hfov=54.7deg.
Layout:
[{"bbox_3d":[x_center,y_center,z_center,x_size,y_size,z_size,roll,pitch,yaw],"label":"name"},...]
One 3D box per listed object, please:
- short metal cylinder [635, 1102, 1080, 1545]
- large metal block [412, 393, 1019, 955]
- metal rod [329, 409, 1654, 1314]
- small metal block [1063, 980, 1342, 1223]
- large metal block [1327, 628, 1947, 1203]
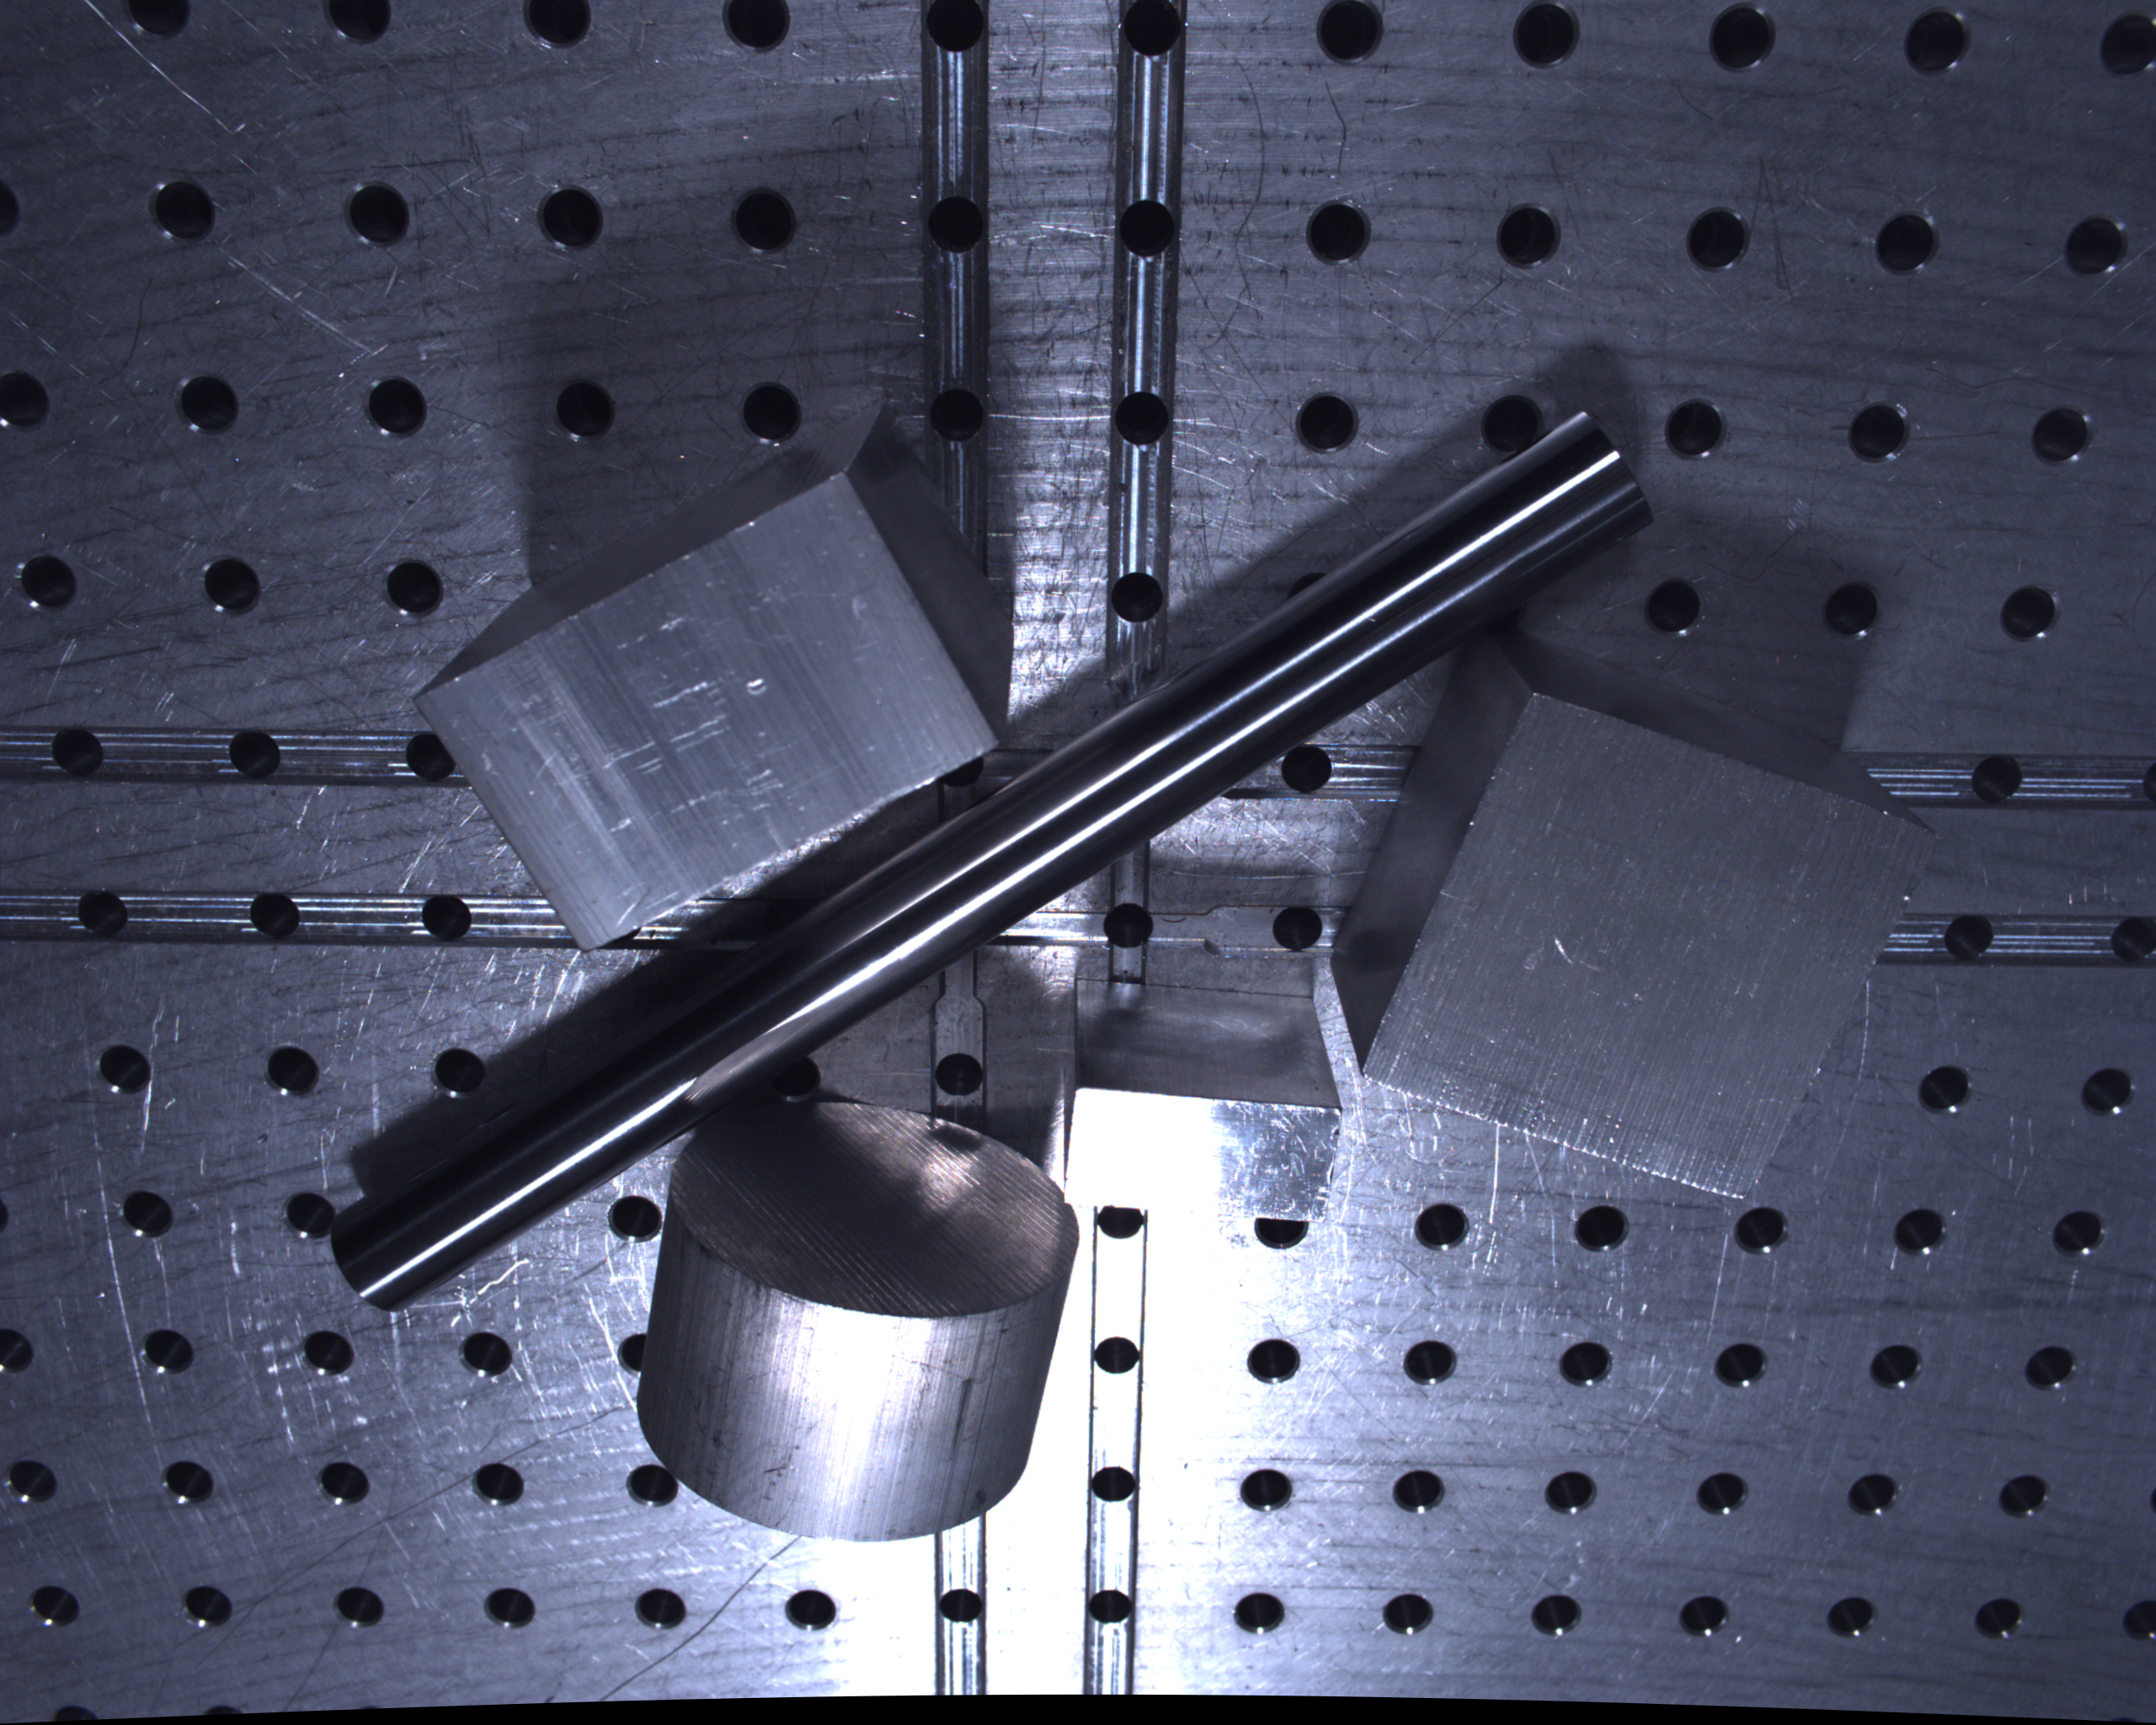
[{"bbox_3d":[-0.044,0.089,0.416,0.081,0.080,0.050,11,110,-5],"label":"short metal cylinder"},{"bbox_3d":[-0.059,-0.037,0.370,0.080,0.080,0.050,-27,108,9],"label":"large metal block"},{"bbox_3d":[-0.025,0.005,0.414,0.300,0.025,0.025,-32,107,11],"label":"metal rod"},{"bbox_3d":[0.023,0.047,0.418,0.050,0.050,0.025,5,110,-2],"label":"small metal block"},{"bbox_3d":[0.103,0.009,0.402,0.080,0.050,0.079,18,109,-7],"label":"large metal block"}]
